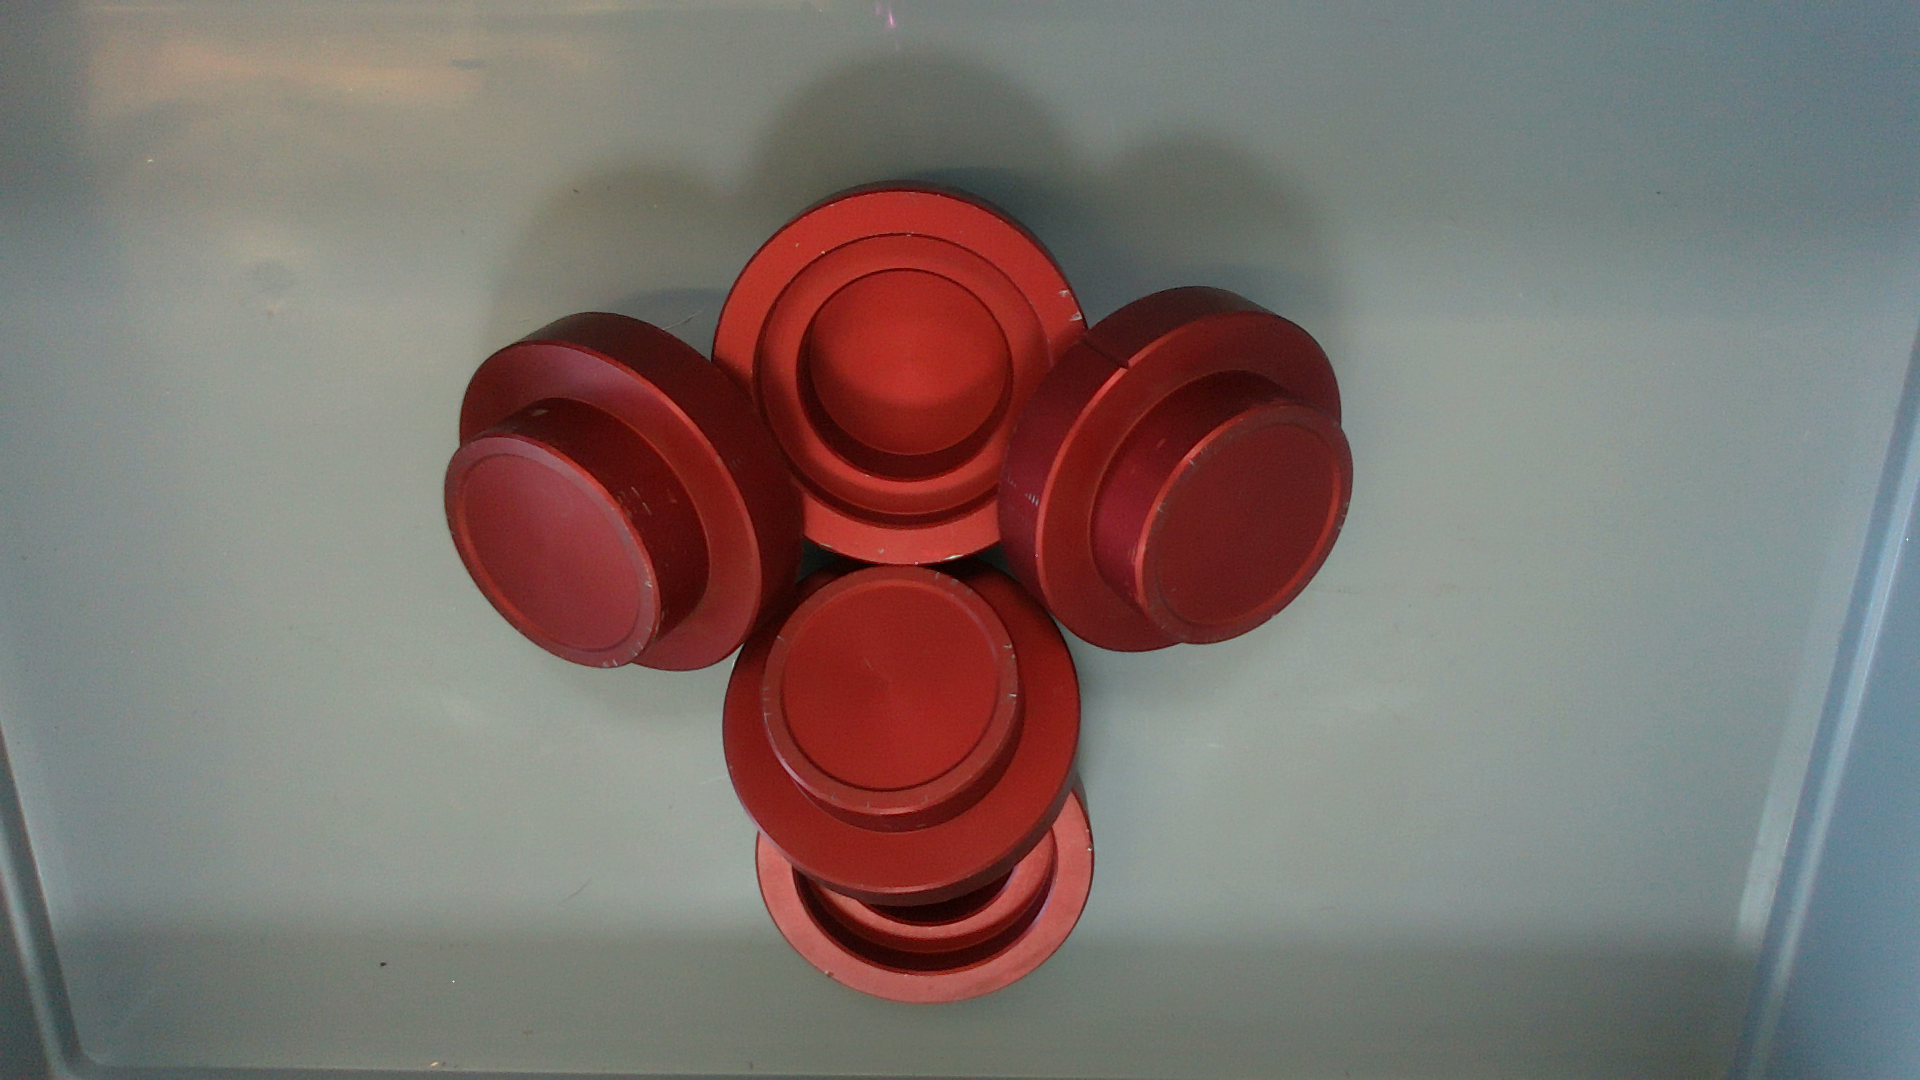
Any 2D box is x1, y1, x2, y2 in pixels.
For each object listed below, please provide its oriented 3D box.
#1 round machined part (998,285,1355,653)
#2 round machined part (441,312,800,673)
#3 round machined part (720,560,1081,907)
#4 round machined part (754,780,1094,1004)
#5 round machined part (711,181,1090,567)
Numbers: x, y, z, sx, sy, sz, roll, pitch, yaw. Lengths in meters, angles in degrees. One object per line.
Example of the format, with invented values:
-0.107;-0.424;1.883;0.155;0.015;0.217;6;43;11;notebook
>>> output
0.062;-0.012;0.355;0.098;0.042;0.098;-17;126;-25;round machined part
-0.094;-0.006;0.358;0.098;0.042;0.098;15;126;23;round machined part
-0.016;0.045;0.370;0.098;0.098;0.042;-6;154;2;round machined part
-0.010;0.086;0.415;0.098;0.042;0.098;0;110;0;round machined part
-0.014;-0.046;0.366;0.098;0.042;0.098;0;110;0;round machined part
